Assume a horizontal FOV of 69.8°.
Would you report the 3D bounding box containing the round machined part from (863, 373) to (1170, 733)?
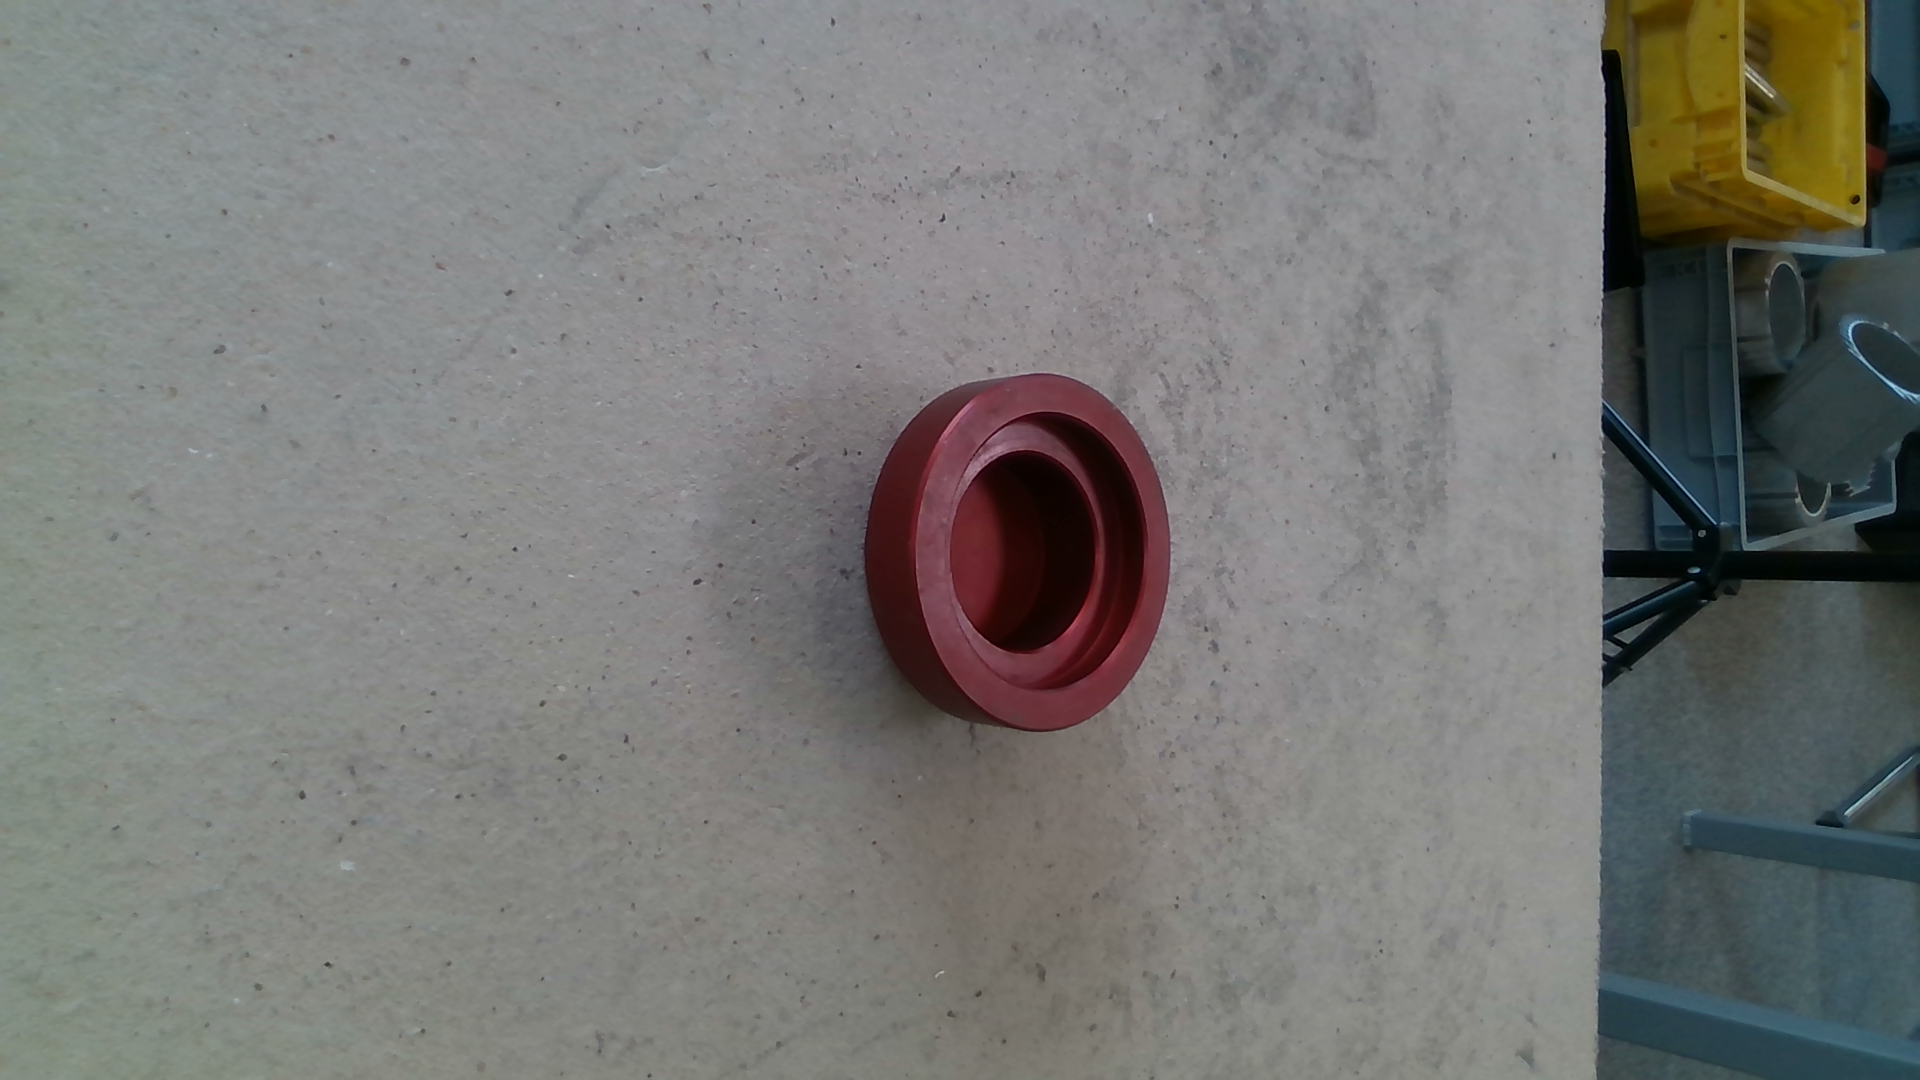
[{"bbox_3d":[0.012,0.004,0.390,0.098,0.042,0.098,0,90,-40],"label":"round machined part"}]
